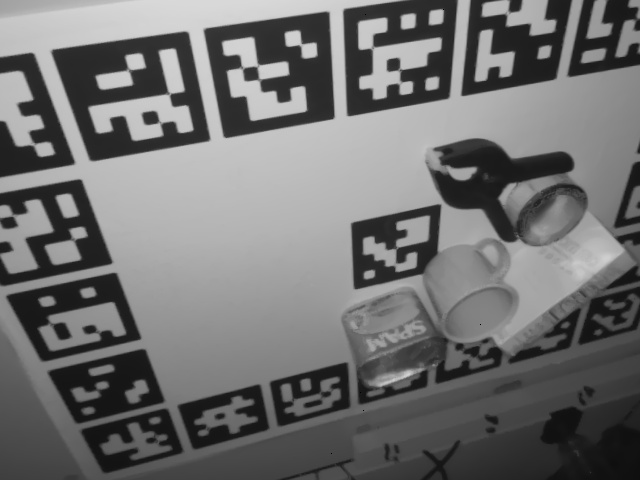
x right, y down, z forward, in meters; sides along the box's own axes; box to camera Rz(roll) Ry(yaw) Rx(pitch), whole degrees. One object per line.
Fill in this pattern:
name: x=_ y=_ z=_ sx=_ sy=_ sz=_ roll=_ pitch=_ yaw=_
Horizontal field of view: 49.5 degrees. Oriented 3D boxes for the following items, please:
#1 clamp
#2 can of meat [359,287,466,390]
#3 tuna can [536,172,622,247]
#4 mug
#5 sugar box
clamp: x=0.200 y=-0.069 z=0.709 sx=0.167 sy=0.037 sz=0.120 roll=22 pitch=120 yaw=-25
can of meat: x=0.100 y=0.108 z=0.776 sx=0.102 sy=0.084 sz=0.057 roll=-17 pitch=130 yaw=-3
tuna can: x=0.279 y=-0.036 z=0.752 sx=0.086 sy=0.034 sz=0.085 roll=-9 pitch=125 yaw=-12
mug: x=0.197 y=0.054 z=0.758 sx=0.094 sy=0.081 sz=0.116 roll=11 pitch=119 yaw=-23
sugar box: x=0.287 y=0.046 z=0.786 sx=0.175 sy=0.093 sz=0.045 roll=-40 pitch=128 yaw=15
